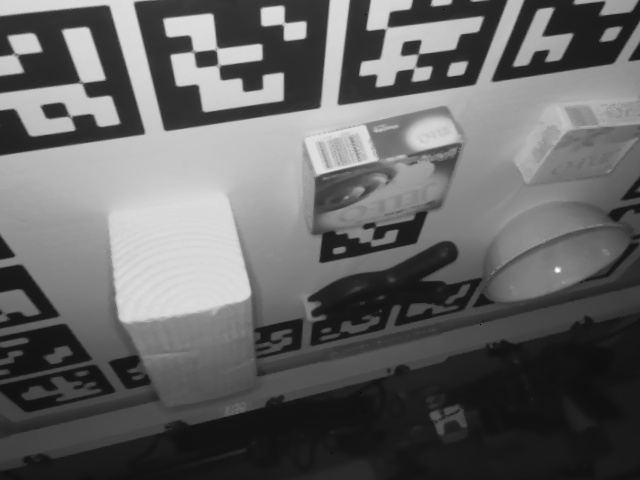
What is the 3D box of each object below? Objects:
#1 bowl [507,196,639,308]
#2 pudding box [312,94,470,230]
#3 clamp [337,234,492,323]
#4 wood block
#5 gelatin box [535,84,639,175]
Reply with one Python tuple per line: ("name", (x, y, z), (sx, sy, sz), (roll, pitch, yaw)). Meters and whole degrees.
("bowl", (0.259, 0.004, 0.713), (0.162, 0.055, 0.160), (-11, 143, -8))
("pudding box", (0.052, -0.059, 0.530), (0.114, 0.039, 0.089), (-14, 143, -9))
("clamp", (0.100, 0.051, 0.727), (0.165, 0.037, 0.121), (-16, 147, 1))
("wood block", (-0.096, 0.059, 0.585), (0.090, 0.091, 0.204), (-9, 146, -9))
("gelatin box", (0.233, -0.091, 0.572), (0.090, 0.030, 0.072), (-7, 144, -15))
